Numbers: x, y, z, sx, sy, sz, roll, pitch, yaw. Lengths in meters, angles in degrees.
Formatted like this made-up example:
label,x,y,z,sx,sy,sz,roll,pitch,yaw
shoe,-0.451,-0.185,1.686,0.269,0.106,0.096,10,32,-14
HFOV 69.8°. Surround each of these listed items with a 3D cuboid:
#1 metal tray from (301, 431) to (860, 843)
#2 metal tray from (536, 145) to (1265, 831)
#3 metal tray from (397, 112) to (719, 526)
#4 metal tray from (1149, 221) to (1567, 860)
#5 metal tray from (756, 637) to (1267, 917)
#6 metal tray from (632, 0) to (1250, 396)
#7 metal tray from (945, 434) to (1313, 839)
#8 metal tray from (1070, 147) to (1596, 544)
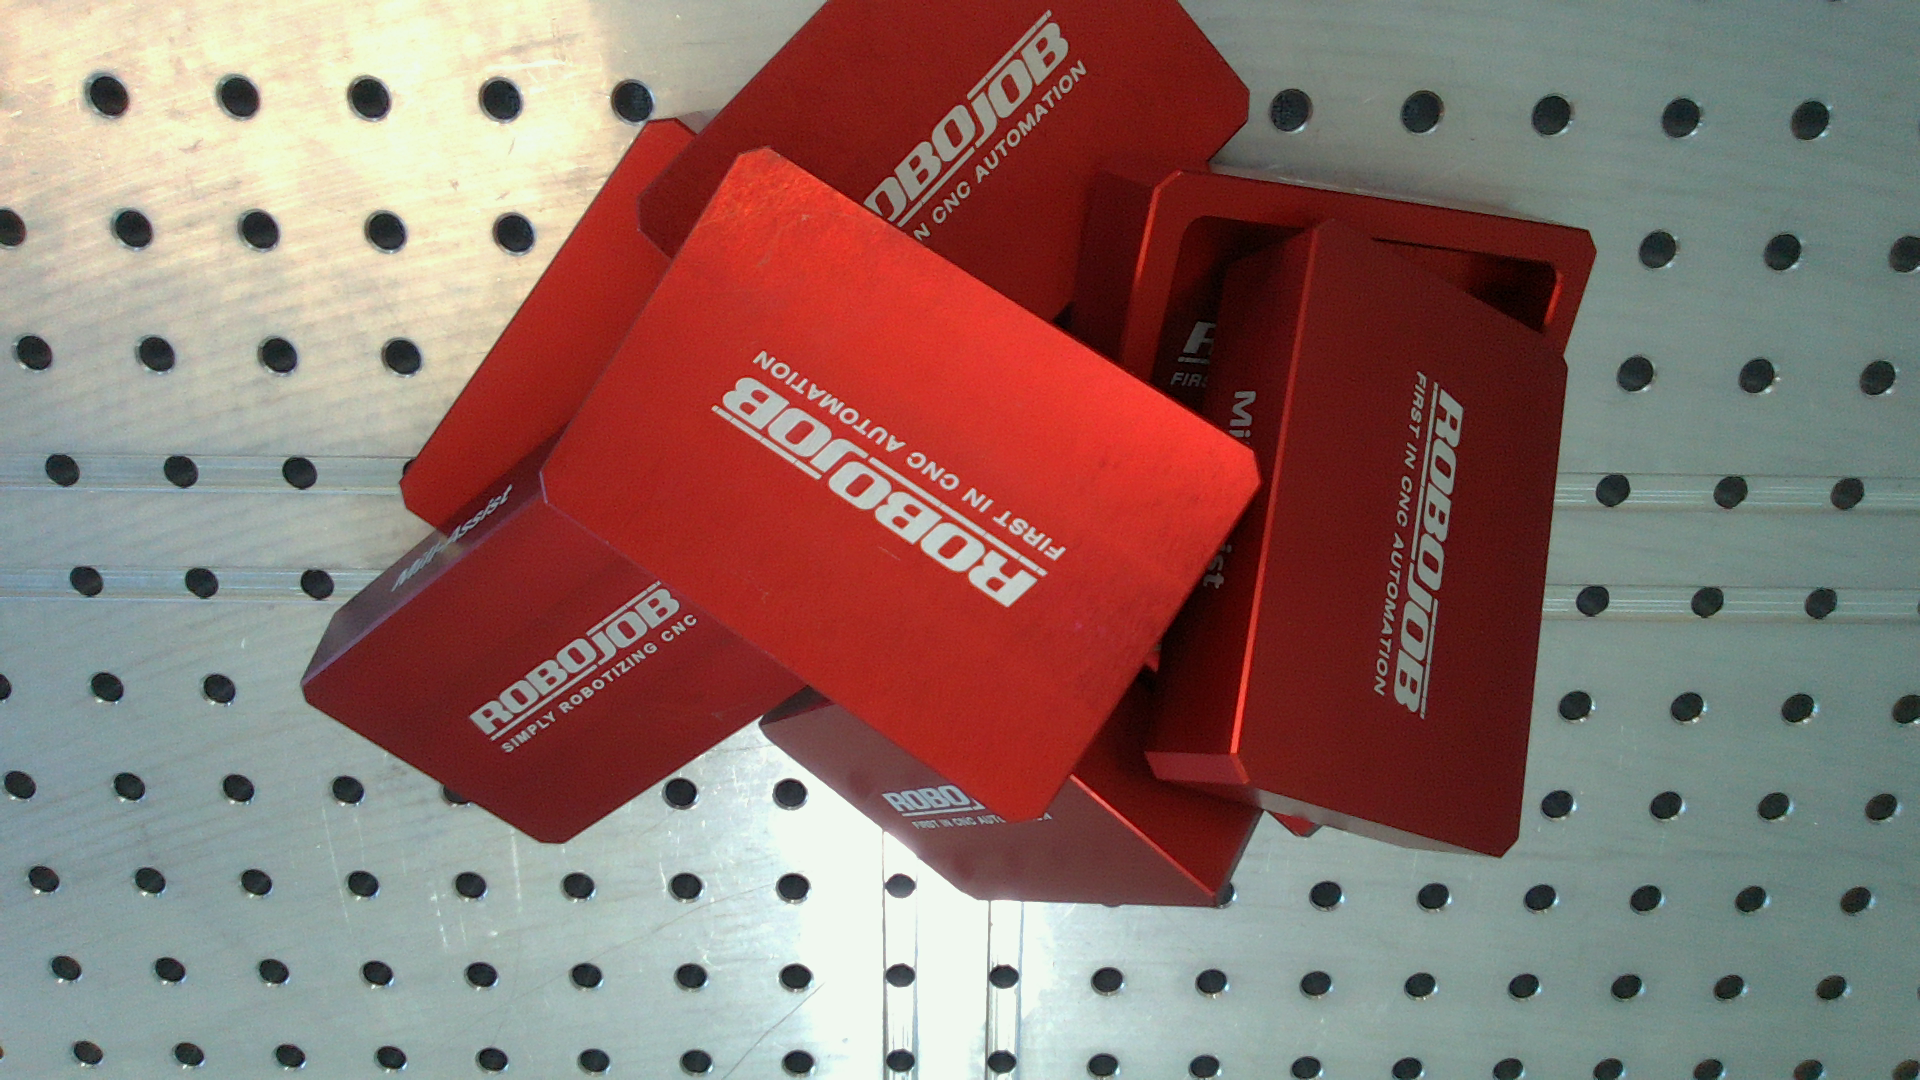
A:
label,x,y,z,sx,sy,sz,roll,pitch,yaw
metal tray,-0.102,0.025,0.378,0.130,0.030,0.090,-34,123,23
metal tray,-0.013,-0.012,0.295,0.130,0.030,0.090,34,93,9
metal tray,-0.080,-0.038,0.379,0.090,0.030,0.130,37,106,-13
metal tray,0.098,0.002,0.328,0.090,0.030,0.130,19,75,-29
metal tray,0.007,0.061,0.369,0.090,0.130,0.030,41,63,-14
metal tray,-0.005,-0.094,0.339,0.130,0.030,0.090,-45,107,0
metal tray,0.052,0.010,0.366,0.130,0.090,0.030,43,105,-13
metal tray,0.092,-0.045,0.354,0.130,0.030,0.090,2,111,-22
